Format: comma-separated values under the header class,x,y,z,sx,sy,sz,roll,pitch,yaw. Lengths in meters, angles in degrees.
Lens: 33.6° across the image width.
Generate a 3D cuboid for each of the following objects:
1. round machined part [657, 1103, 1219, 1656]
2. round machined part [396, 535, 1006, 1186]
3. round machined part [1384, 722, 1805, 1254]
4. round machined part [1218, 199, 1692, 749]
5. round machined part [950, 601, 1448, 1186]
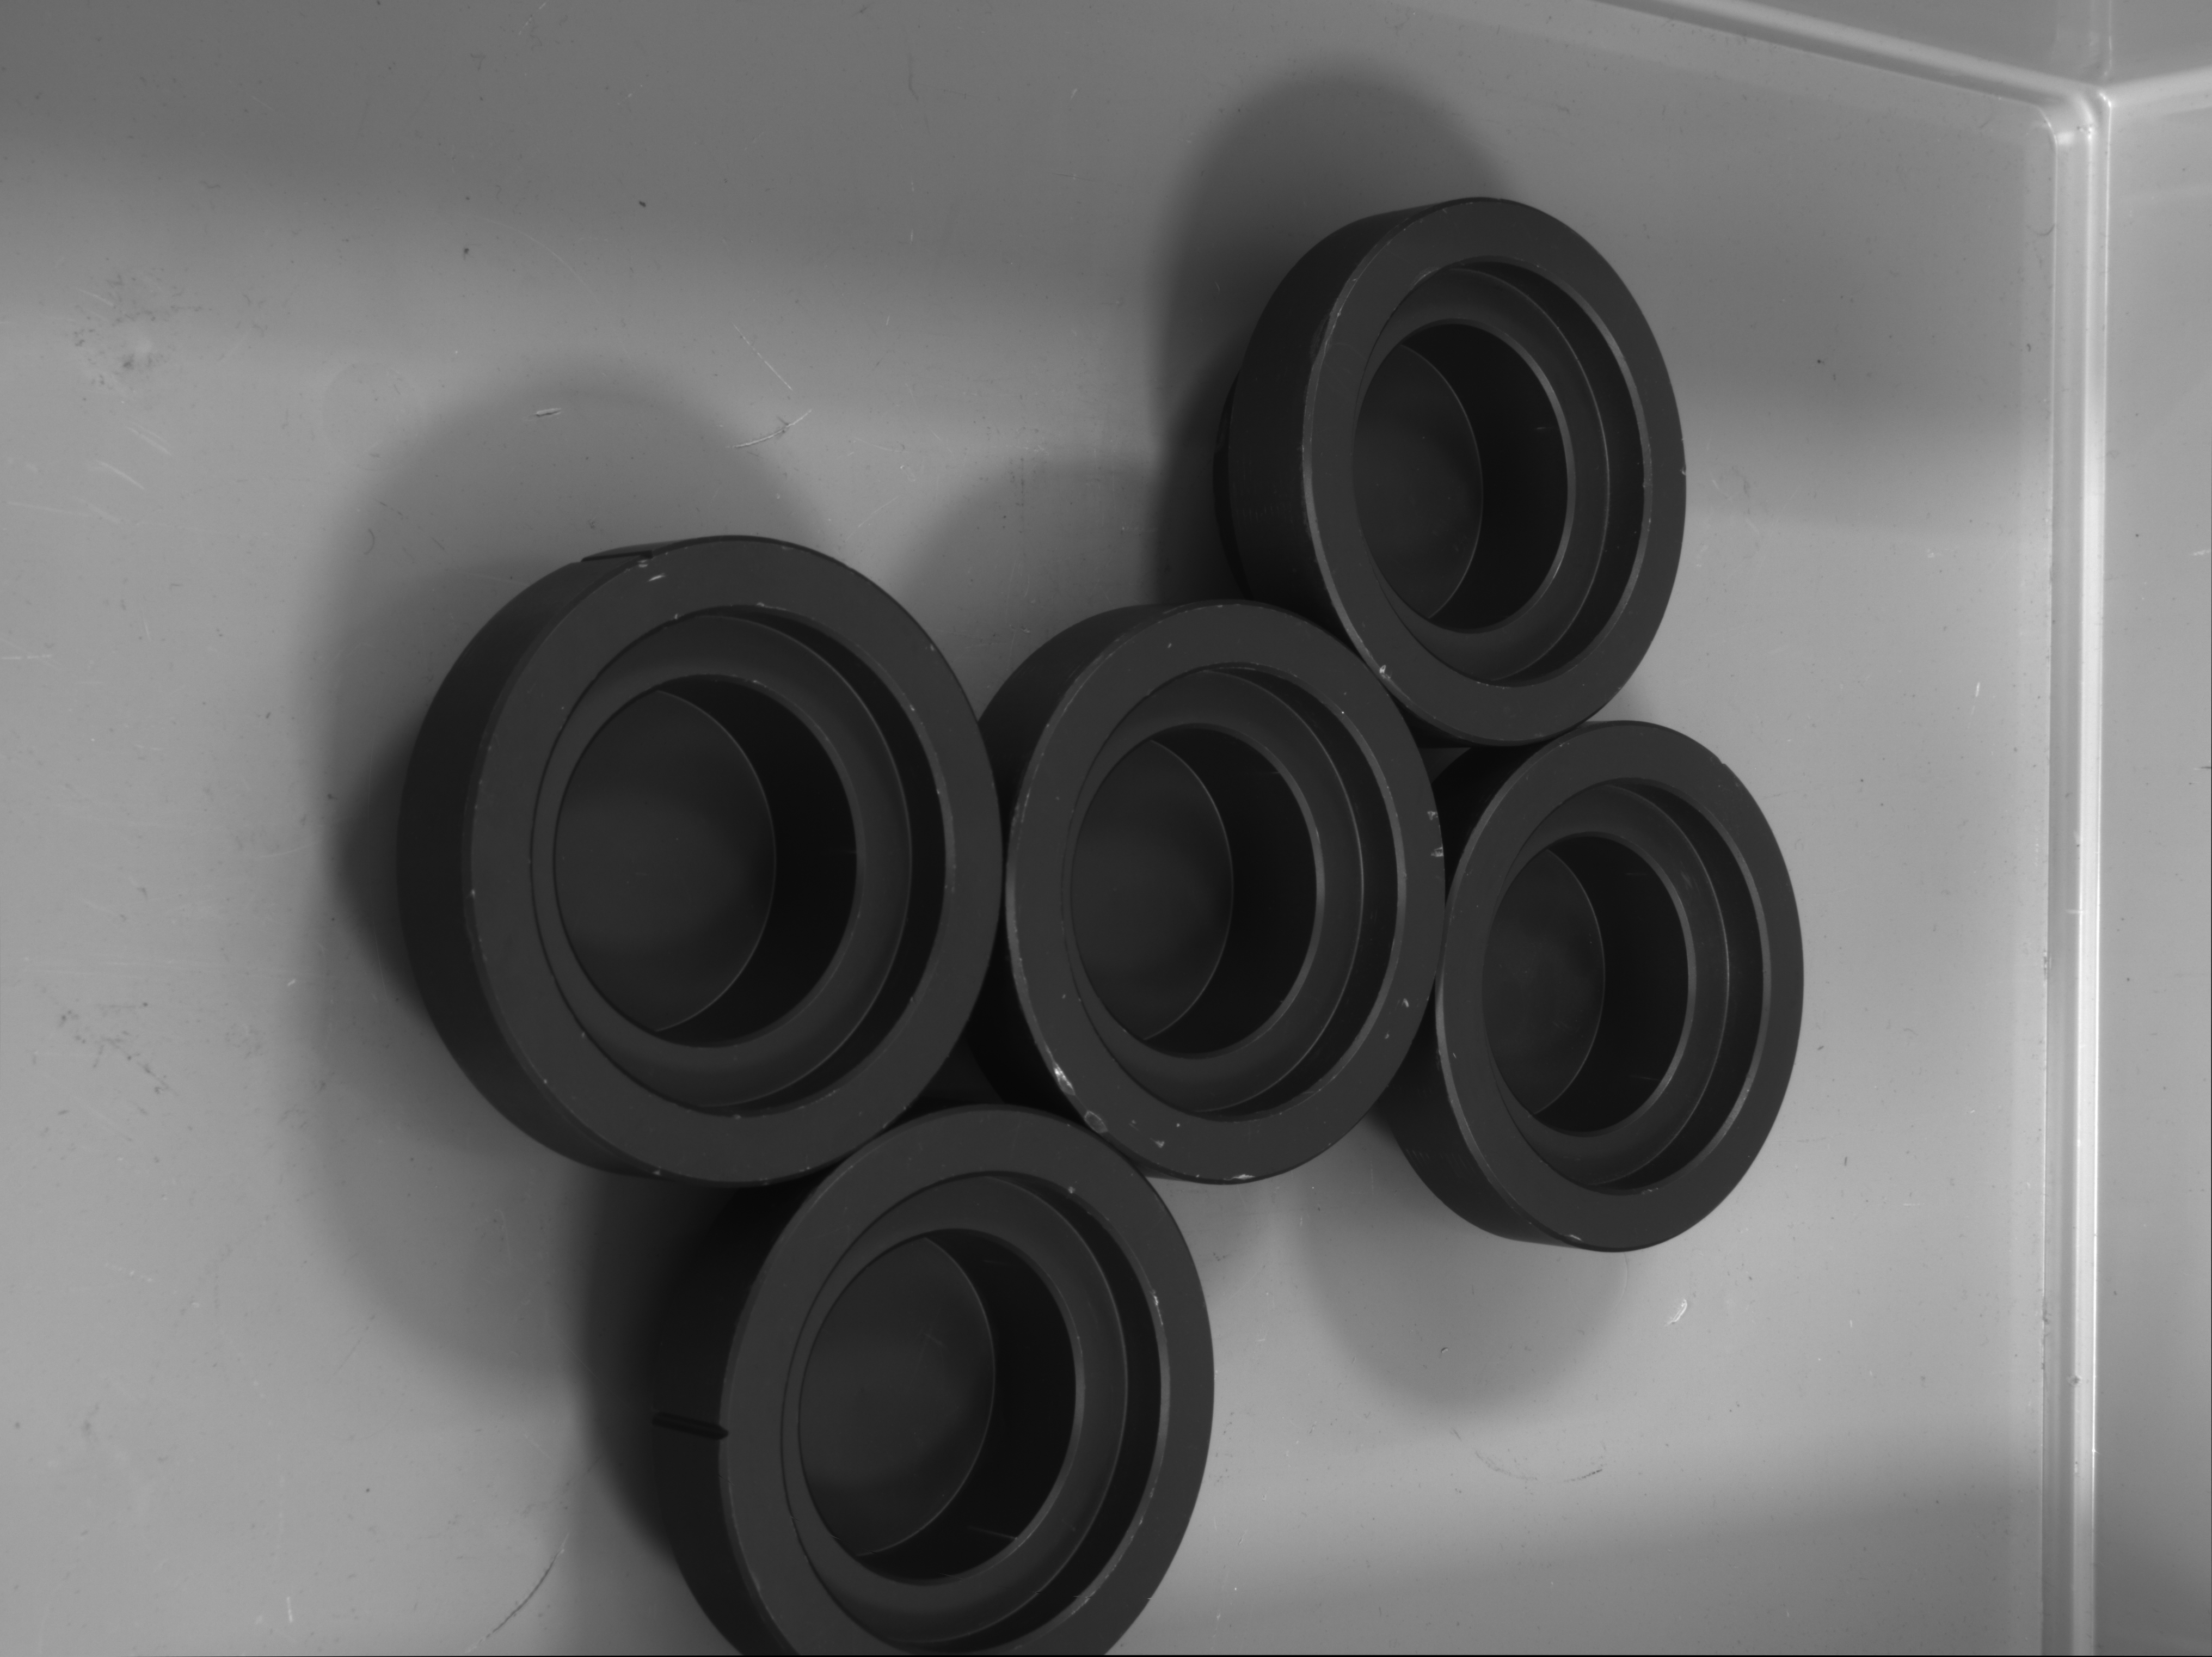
class,x,y,z,sx,sy,sz,roll,pitch,yaw
round machined part,-0.032,0.093,0.595,0.098,0.042,0.098,0,90,-40
round machined part,-0.066,0.005,0.567,0.098,0.042,0.098,0,90,-40
round machined part,0.084,0.029,0.692,0.098,0.042,0.098,0,90,-40
round machined part,0.059,-0.063,0.671,0.098,0.042,0.098,0,90,-40
round machined part,0.010,0.011,0.629,0.098,0.042,0.098,0,90,-40
